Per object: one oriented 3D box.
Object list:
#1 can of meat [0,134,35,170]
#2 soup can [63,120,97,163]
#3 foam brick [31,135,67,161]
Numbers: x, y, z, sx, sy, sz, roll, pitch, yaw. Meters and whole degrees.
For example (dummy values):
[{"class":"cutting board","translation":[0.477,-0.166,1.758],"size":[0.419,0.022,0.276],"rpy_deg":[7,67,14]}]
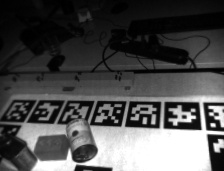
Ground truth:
[{"class":"can of meat","translation":[-0.277,0.188,0.597],"size":[0.101,0.084,0.058],"rpy_deg":[10,52,24]},{"class":"soup can","translation":[-0.092,0.153,0.603],"size":[0.068,0.068,0.101],"rpy_deg":[-28,41,-10]},{"class":"foam brick","translation":[-0.175,0.176,0.607],"size":[0.078,0.052,0.052],"rpy_deg":[-9,47,8]}]
